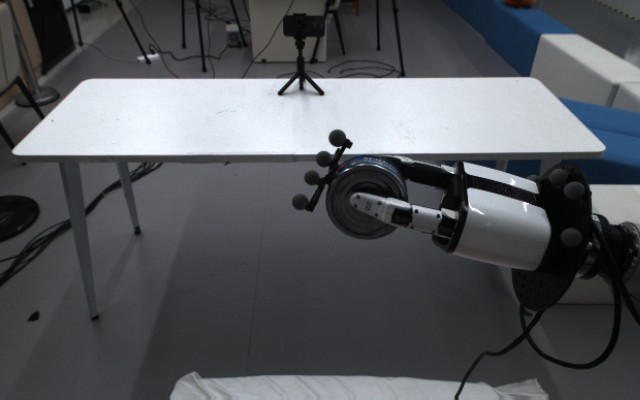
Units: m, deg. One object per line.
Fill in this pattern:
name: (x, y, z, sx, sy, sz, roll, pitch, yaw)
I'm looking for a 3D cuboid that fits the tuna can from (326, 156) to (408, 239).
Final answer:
tuna can: (0.052, -0.005, 0.511, 0.085, 0.085, 0.034, 3, 20, 1)
